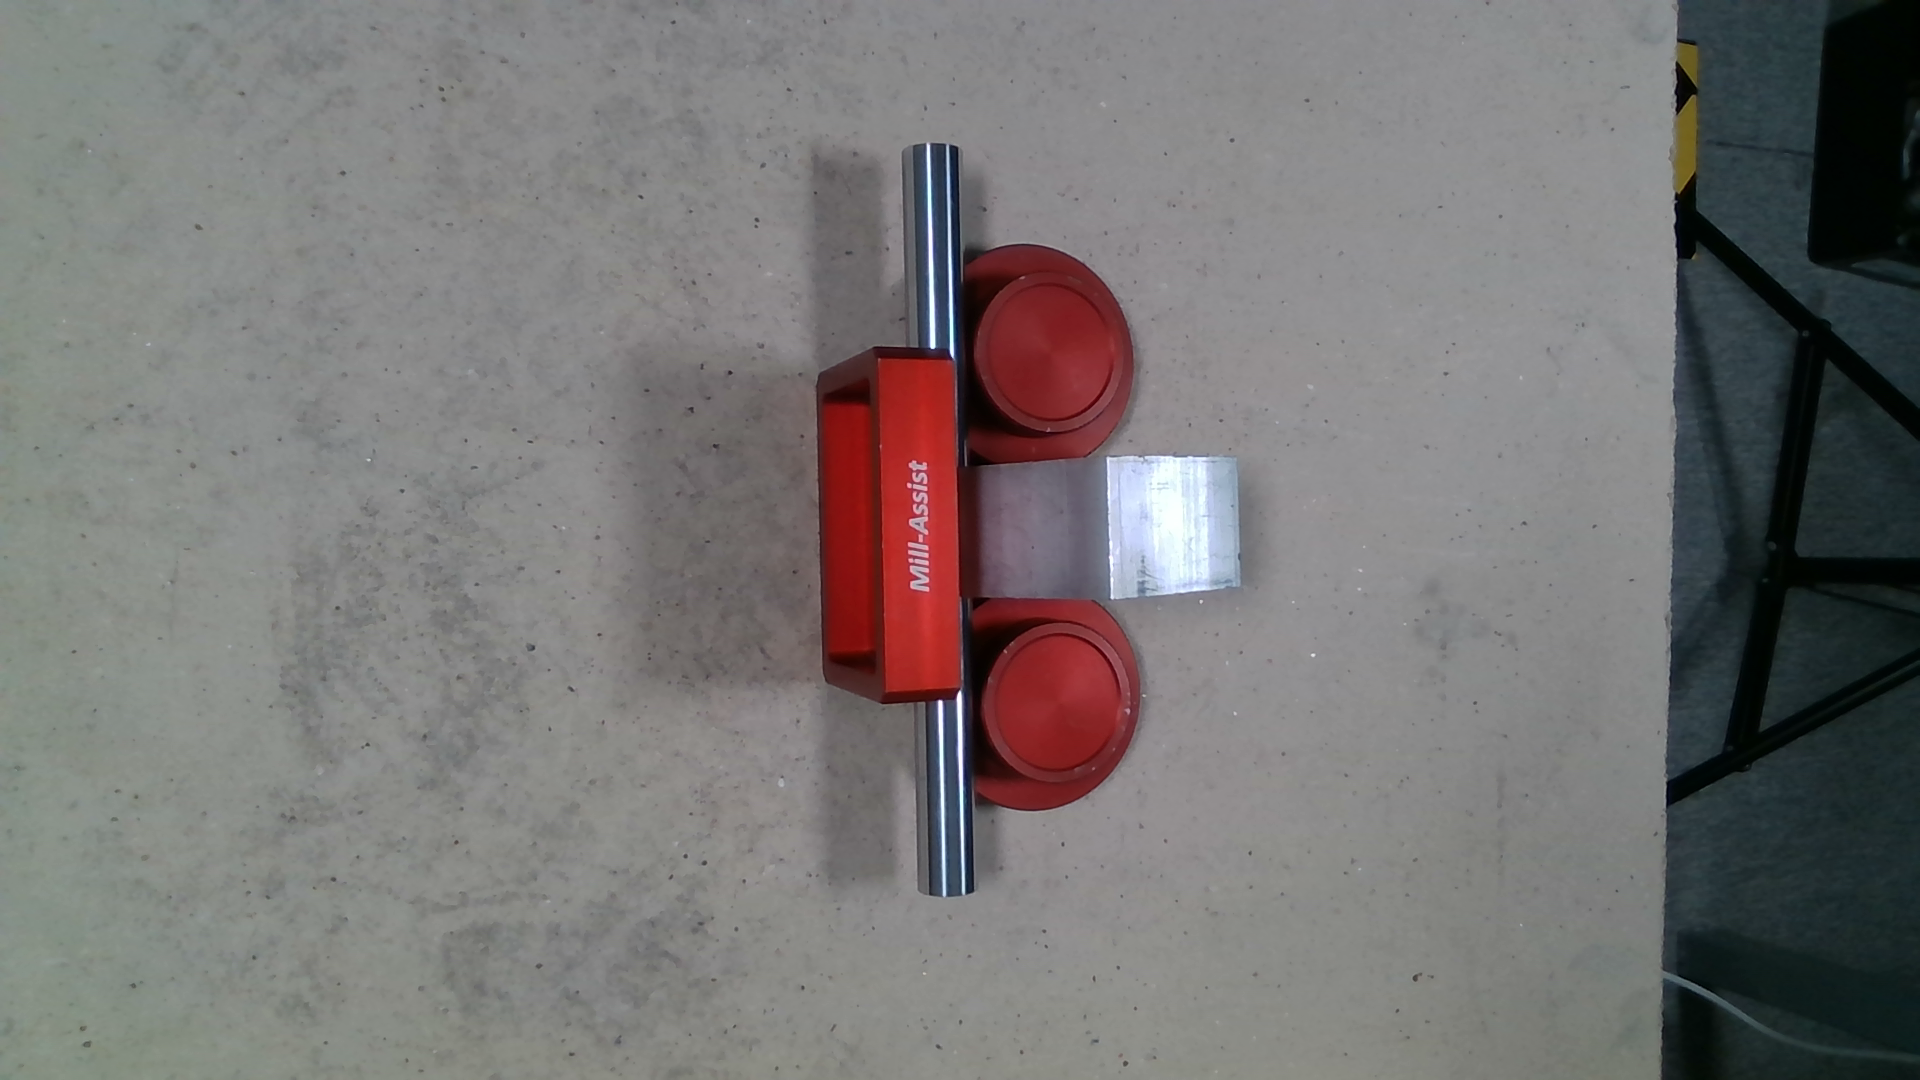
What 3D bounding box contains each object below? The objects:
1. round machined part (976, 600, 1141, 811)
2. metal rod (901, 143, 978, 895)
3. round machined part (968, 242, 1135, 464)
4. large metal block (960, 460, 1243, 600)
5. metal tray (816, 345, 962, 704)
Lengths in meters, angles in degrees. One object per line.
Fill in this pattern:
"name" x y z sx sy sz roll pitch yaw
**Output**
"round machined part" 0.034 0.067 0.589 0.098 0.042 0.098 0 90 -20
"metal rod" -0.008 -0.008 0.561 0.025 0.025 0.300 -1 91 -20
"round machined part" 0.031 -0.078 0.586 0.098 0.042 0.098 0 90 -20
"large metal block" 0.055 -0.005 0.549 0.080 0.080 0.050 -3 92 -44
"metal tray" -0.030 -0.006 0.540 0.030 0.090 0.130 -1 91 -20
